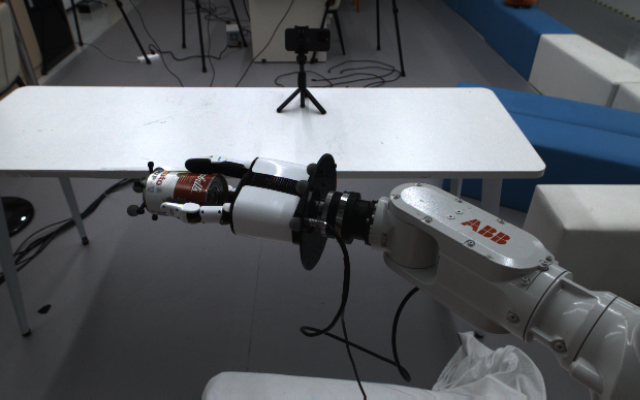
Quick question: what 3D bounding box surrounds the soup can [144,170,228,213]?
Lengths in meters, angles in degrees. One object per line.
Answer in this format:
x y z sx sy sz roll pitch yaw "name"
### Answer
-0.191 -0.006 0.697 0.101 0.067 0.067 5 34 14 "soup can"
